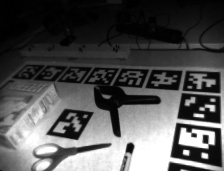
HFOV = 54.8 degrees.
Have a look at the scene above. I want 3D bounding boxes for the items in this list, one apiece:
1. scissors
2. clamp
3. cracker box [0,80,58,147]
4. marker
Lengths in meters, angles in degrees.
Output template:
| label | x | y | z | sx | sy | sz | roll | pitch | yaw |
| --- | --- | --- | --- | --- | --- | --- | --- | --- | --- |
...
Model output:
| label | x | y | z | sx | sy | sz | roll | pitch | yaw |
| --- | --- | --- | --- | --- | --- | --- | --- | --- | --- |
| scissors | -0.099 | 0.150 | 0.535 | 0.203 | 0.016 | 0.087 | -14 | 36 | -4 |
| clamp | 0.007 | 0.037 | 0.655 | 0.166 | 0.037 | 0.200 | -34 | 42 | -27 |
| cracker box | -0.295 | 0.070 | 0.658 | 0.162 | 0.072 | 0.214 | 4 | 40 | 22 |
| marker | 0.031 | 0.158 | 0.482 | 0.019 | 0.020 | 0.121 | 0 | 39 | 19 |
